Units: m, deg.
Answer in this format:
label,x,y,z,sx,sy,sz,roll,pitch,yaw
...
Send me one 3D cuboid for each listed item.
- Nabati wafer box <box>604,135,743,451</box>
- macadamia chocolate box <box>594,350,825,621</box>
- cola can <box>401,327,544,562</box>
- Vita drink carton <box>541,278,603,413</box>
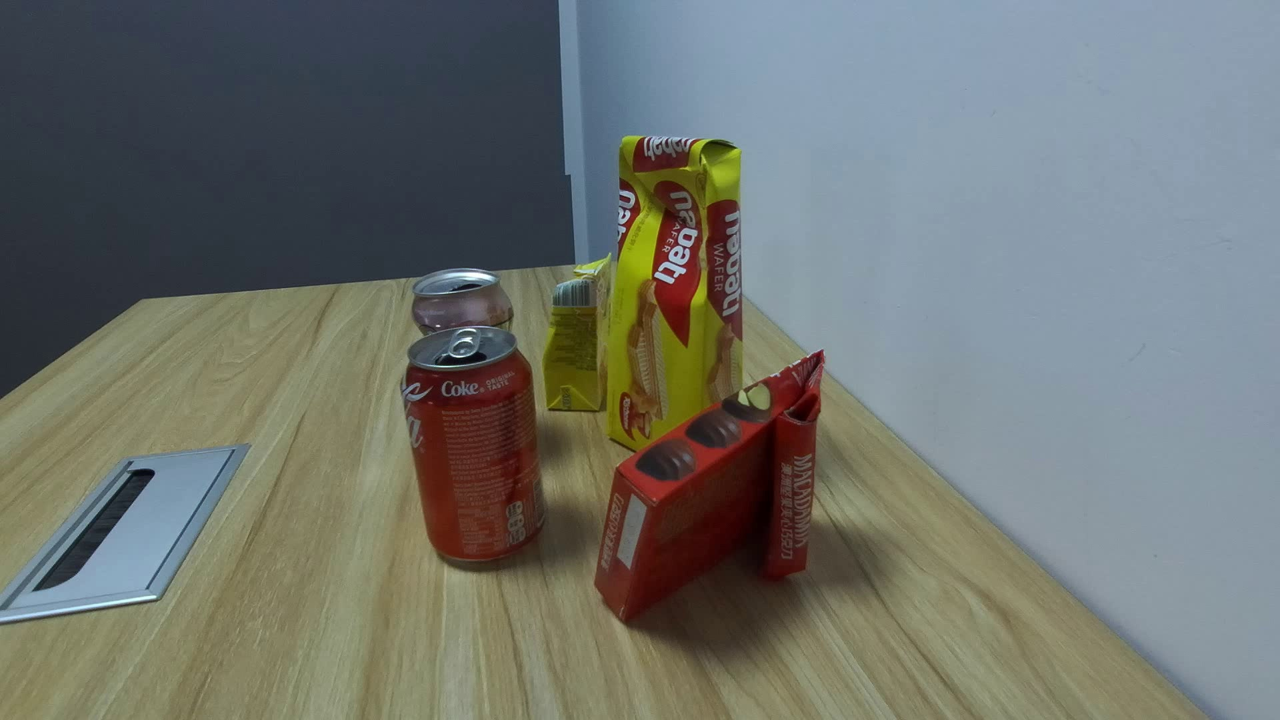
label,x,y,z,sx,sy,sz,roll,pitch,yaw
Nabati wafer box,0.019,-0.031,0.437,0.043,0.205,0.112,-19,27,-39
macadamia chocolate box,0.040,0.062,0.336,0.127,0.112,0.056,-16,30,-29
cola can,-0.088,0.045,0.381,0.068,0.120,0.068,-2,23,1
Vita drink carton,-0.046,-0.023,0.542,0.046,0.110,0.071,4,23,8
